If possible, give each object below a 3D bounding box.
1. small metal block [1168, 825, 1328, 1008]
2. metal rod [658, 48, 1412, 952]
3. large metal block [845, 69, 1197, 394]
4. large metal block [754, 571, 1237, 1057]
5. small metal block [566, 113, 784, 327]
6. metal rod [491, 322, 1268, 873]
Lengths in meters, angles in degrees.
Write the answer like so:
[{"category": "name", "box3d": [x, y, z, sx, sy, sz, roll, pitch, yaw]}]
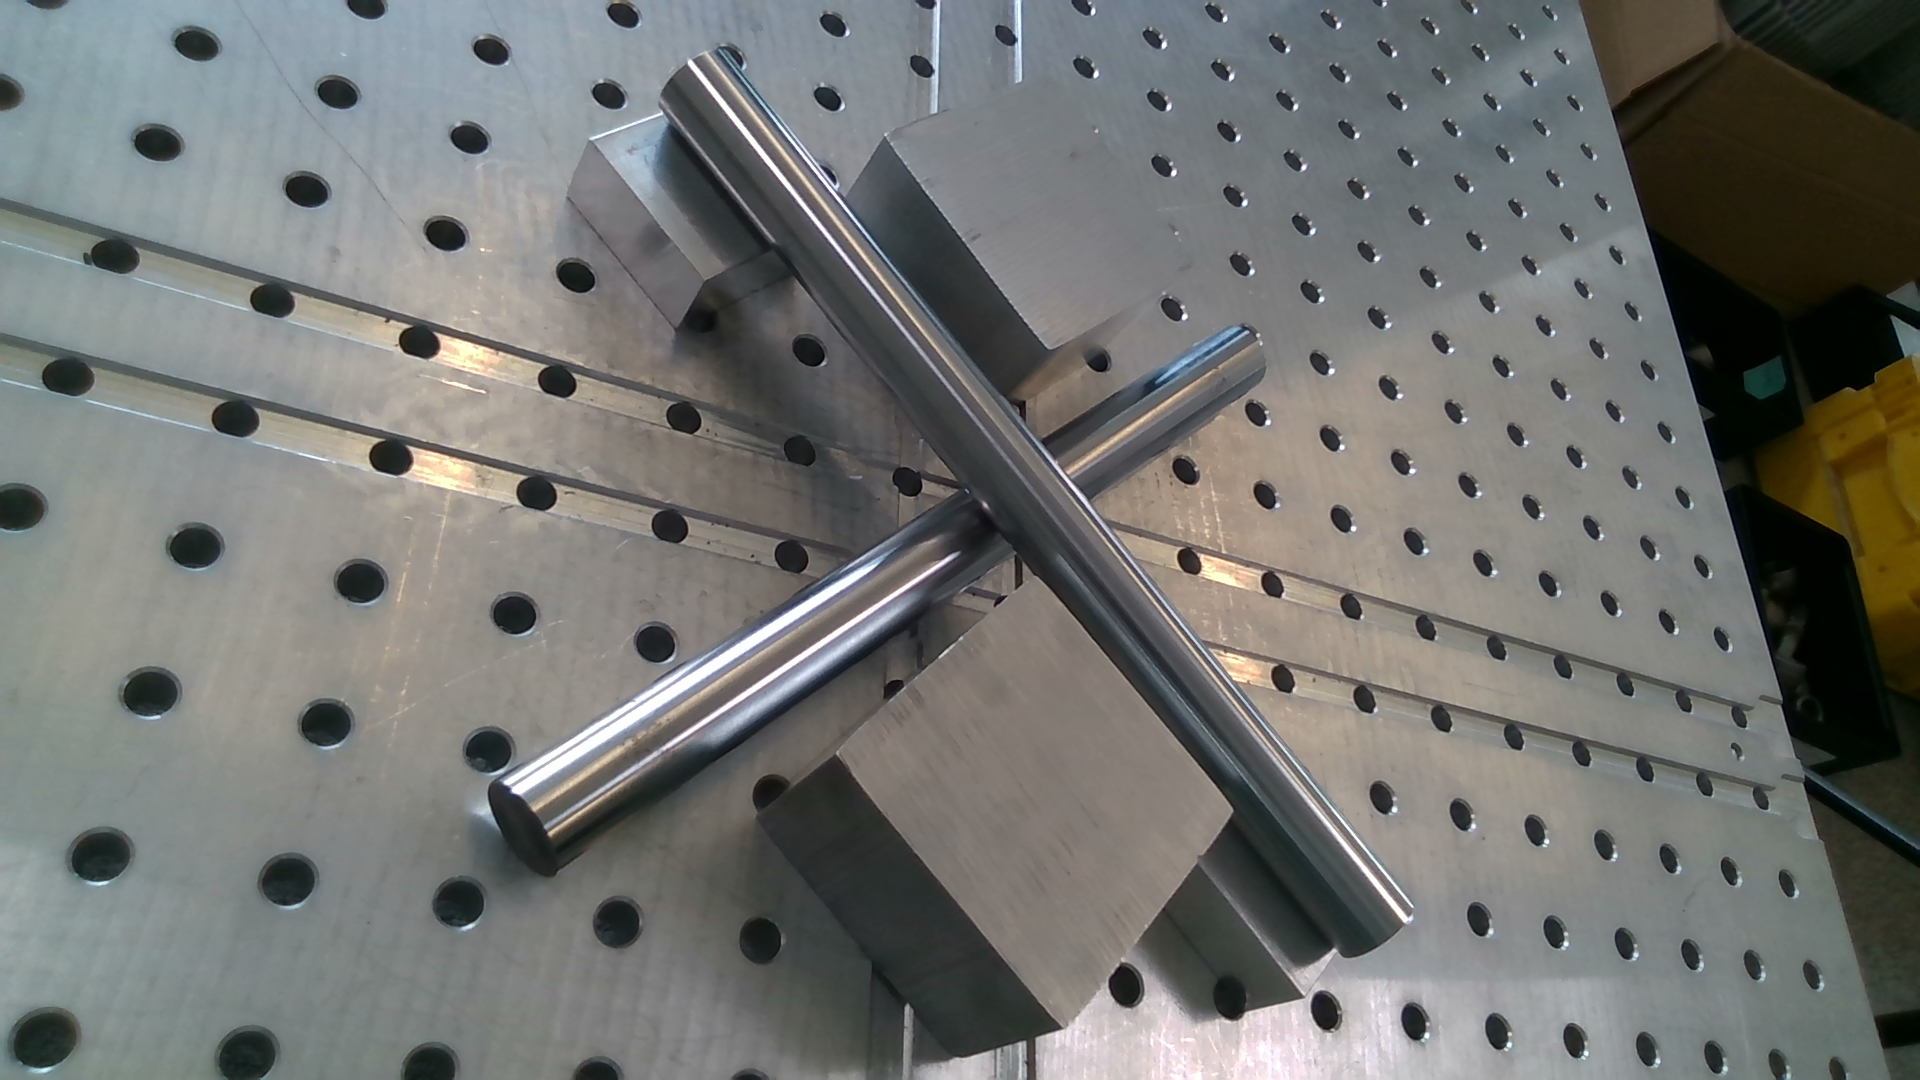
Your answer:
[{"category": "small metal block", "box3d": [0.086, 0.097, 0.398, 0.050, 0.025, 0.050, -36, 87, -39]}, {"category": "metal rod", "box3d": [0.019, -0.012, 0.382, 0.300, 0.025, 0.025, 51, 51, 2]}, {"category": "large metal block", "box3d": [0.015, -0.093, 0.439, 0.080, 0.050, 0.080, -35, 86, -39]}, {"category": "large metal block", "box3d": [0.010, 0.069, 0.350, 0.080, 0.050, 0.080, 50, 51, 1]}, {"category": "small metal block", "box3d": [-0.076, -0.097, 0.401, 0.050, 0.025, 0.050, 51, 51, 2]}, {"category": "metal rod", "box3d": [0.002, -0.002, 0.397, 0.300, 0.025, 0.025, -34, 85, -39]}]
